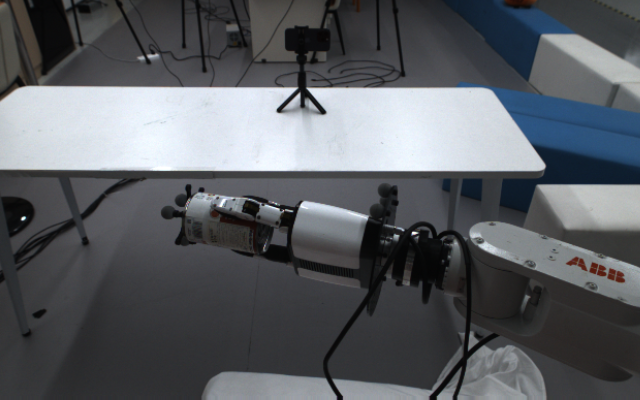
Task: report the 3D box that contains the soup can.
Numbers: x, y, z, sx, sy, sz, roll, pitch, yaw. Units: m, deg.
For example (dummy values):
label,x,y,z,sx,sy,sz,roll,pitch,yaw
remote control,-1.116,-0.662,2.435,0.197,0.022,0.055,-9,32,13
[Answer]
label,x,y,z,sx,sy,sz,roll,pitch,yaw
soup can,-0.114,0.030,0.624,0.101,0.067,0.067,9,35,10
